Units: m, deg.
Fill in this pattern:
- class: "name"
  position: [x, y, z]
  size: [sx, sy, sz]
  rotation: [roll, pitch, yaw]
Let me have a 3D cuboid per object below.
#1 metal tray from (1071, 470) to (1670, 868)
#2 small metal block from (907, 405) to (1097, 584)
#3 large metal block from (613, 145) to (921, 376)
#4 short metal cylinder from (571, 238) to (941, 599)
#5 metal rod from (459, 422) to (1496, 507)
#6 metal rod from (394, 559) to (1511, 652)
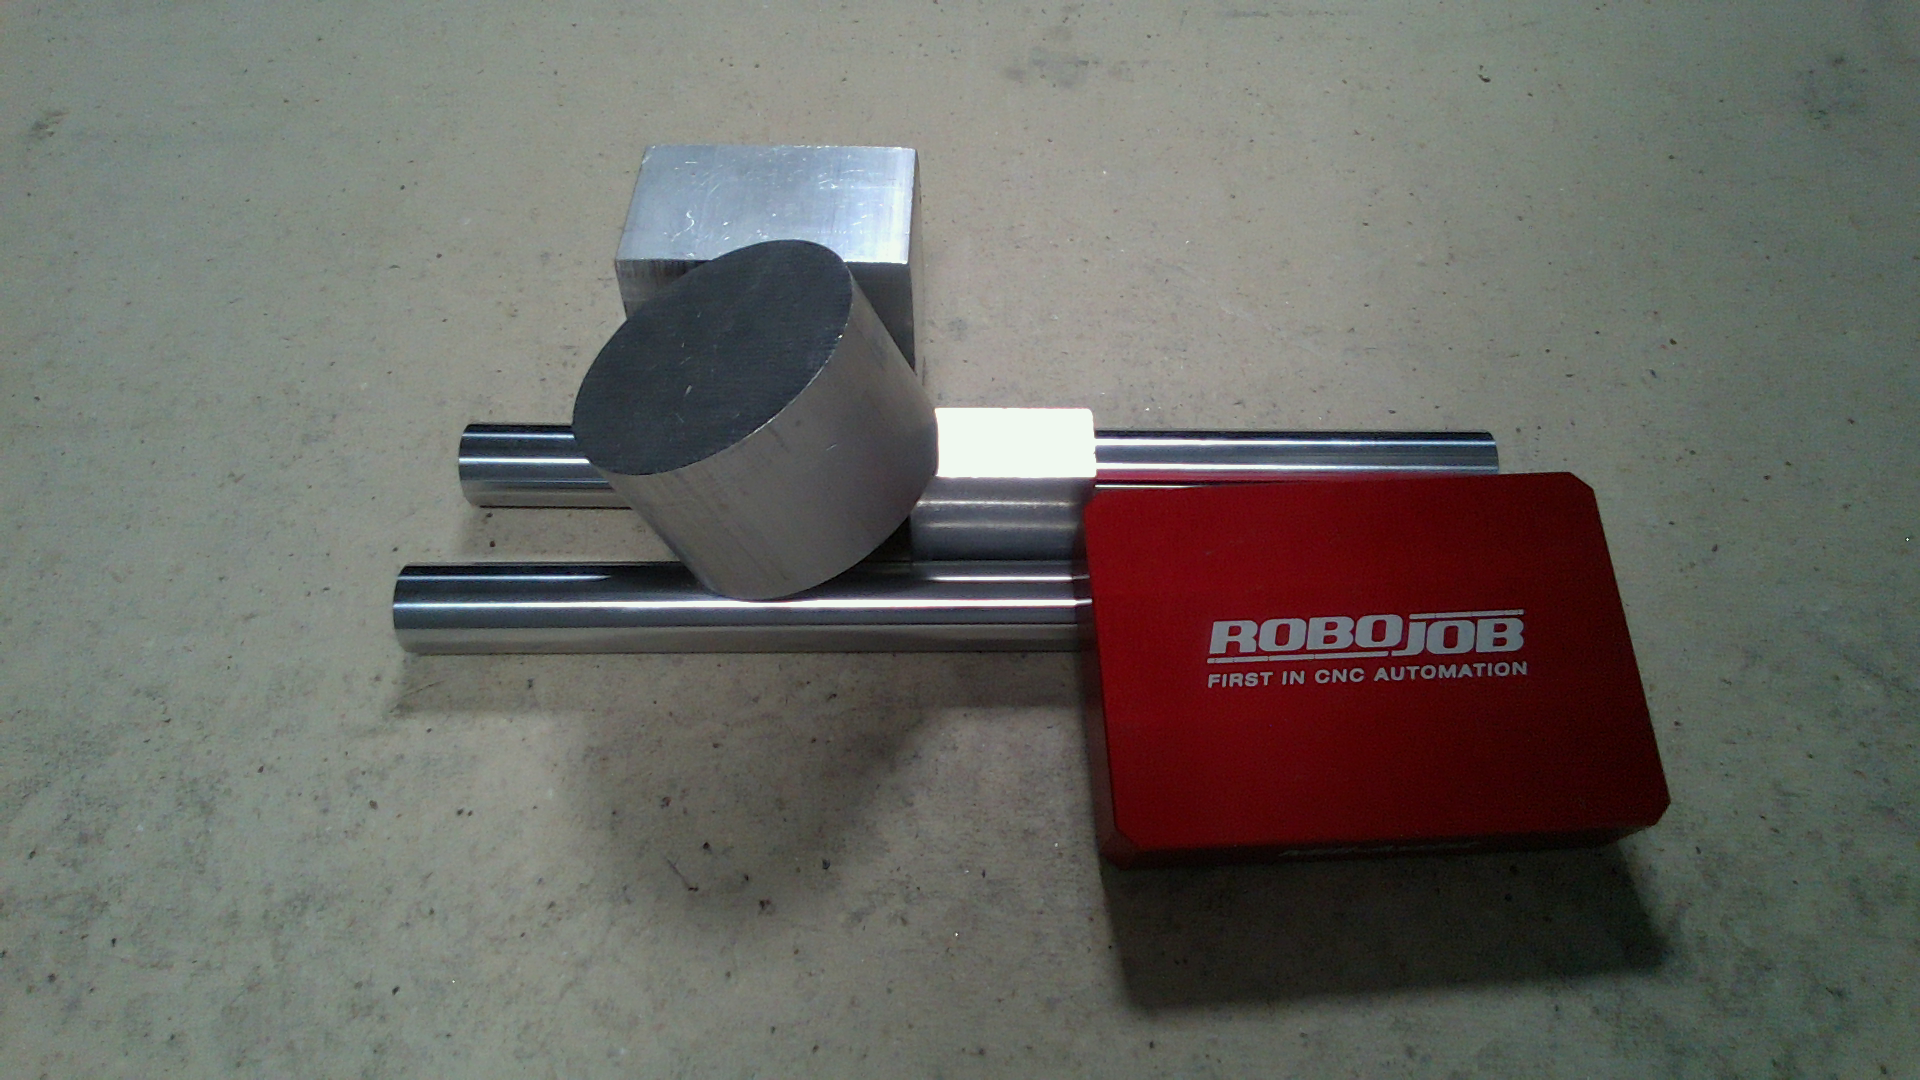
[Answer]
- class: "metal tray"
  position: [0.097, 0.031, 0.344]
  size: [0.130, 0.030, 0.090]
  rotation: [-2, 67, -3]
- class: "small metal block"
  position: [0.011, -0.011, 0.384]
  size: [0.050, 0.050, 0.025]
  rotation: [0, 50, 1]
- class: "large metal block"
  position: [-0.052, -0.070, 0.416]
  size: [0.080, 0.080, 0.050]
  rotation: [1, 50, 1]
- class: "short metal cylinder"
  position: [-0.052, -0.032, 0.356]
  size: [0.080, 0.050, 0.080]
  rotation: [-17, 45, 18]
- class: "metal rod"
  position: [0.005, -0.021, 0.410]
  size: [0.300, 0.025, 0.025]
  rotation: [1, 50, 0]
- class: "metal rod"
  position: [0.000, 0.018, 0.377]
  size: [0.300, 0.025, 0.025]
  rotation: [0, 50, 0]
